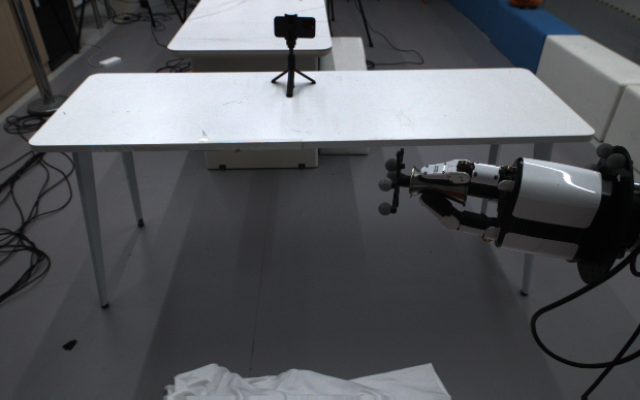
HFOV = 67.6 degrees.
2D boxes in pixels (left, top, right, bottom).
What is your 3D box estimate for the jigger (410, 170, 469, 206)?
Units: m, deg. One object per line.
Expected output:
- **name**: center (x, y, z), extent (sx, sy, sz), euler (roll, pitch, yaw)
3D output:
- **jigger**: center (0.154, -0.024, 0.597), extent (0.071, 0.043, 0.043), euler (8, 35, 14)
